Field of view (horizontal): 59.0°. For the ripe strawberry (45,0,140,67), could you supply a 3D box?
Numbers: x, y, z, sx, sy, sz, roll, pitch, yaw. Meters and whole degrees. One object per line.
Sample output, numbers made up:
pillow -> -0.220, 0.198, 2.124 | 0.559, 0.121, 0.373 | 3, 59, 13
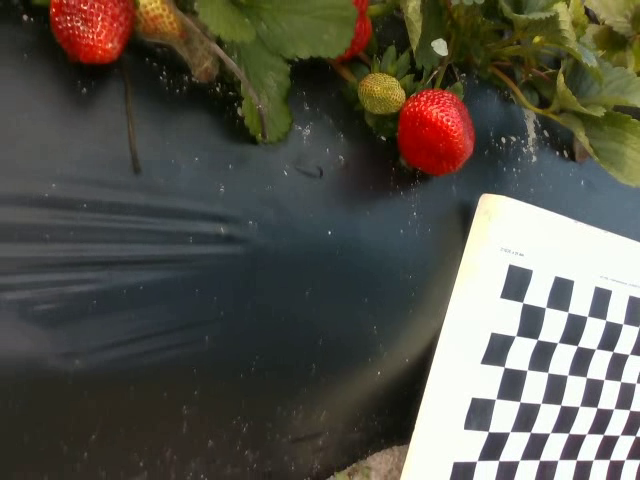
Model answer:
ripe strawberry -> -0.041, -0.039, 0.103 | 0.018, 0.022, 0.017 | -11, -27, -28

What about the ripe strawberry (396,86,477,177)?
ripe strawberry -> 0.033, -0.026, 0.143 | 0.022, 0.025, 0.030 | 0, 19, -3
